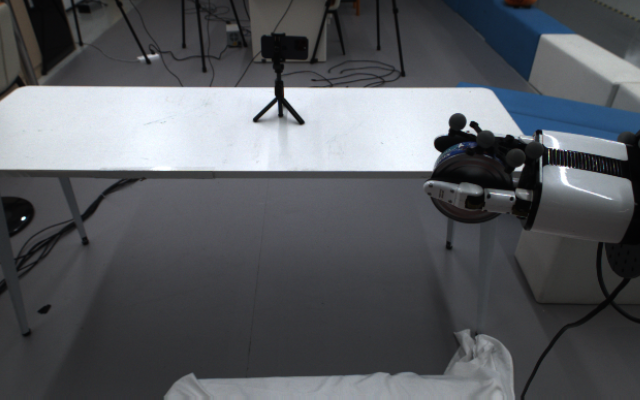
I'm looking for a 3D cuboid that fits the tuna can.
[{"bbox_3d":[0.165,-0.022,0.523,0.085,0.085,0.034,12,33,14],"label":"tuna can"}]
